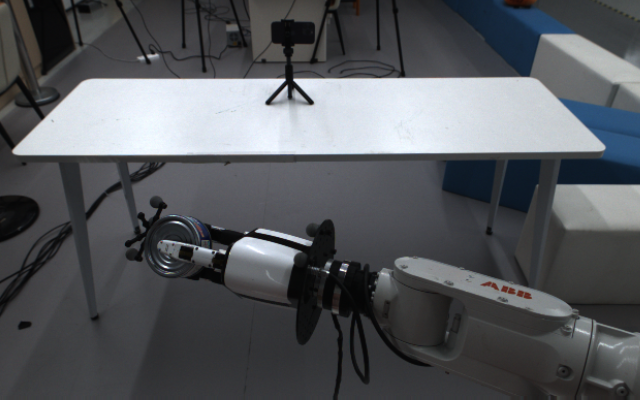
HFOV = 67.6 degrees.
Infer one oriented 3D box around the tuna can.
[{"bbox_3d":[-0.190,0.062,0.652,0.085,0.085,0.034,12,-3,14],"label":"tuna can"}]
